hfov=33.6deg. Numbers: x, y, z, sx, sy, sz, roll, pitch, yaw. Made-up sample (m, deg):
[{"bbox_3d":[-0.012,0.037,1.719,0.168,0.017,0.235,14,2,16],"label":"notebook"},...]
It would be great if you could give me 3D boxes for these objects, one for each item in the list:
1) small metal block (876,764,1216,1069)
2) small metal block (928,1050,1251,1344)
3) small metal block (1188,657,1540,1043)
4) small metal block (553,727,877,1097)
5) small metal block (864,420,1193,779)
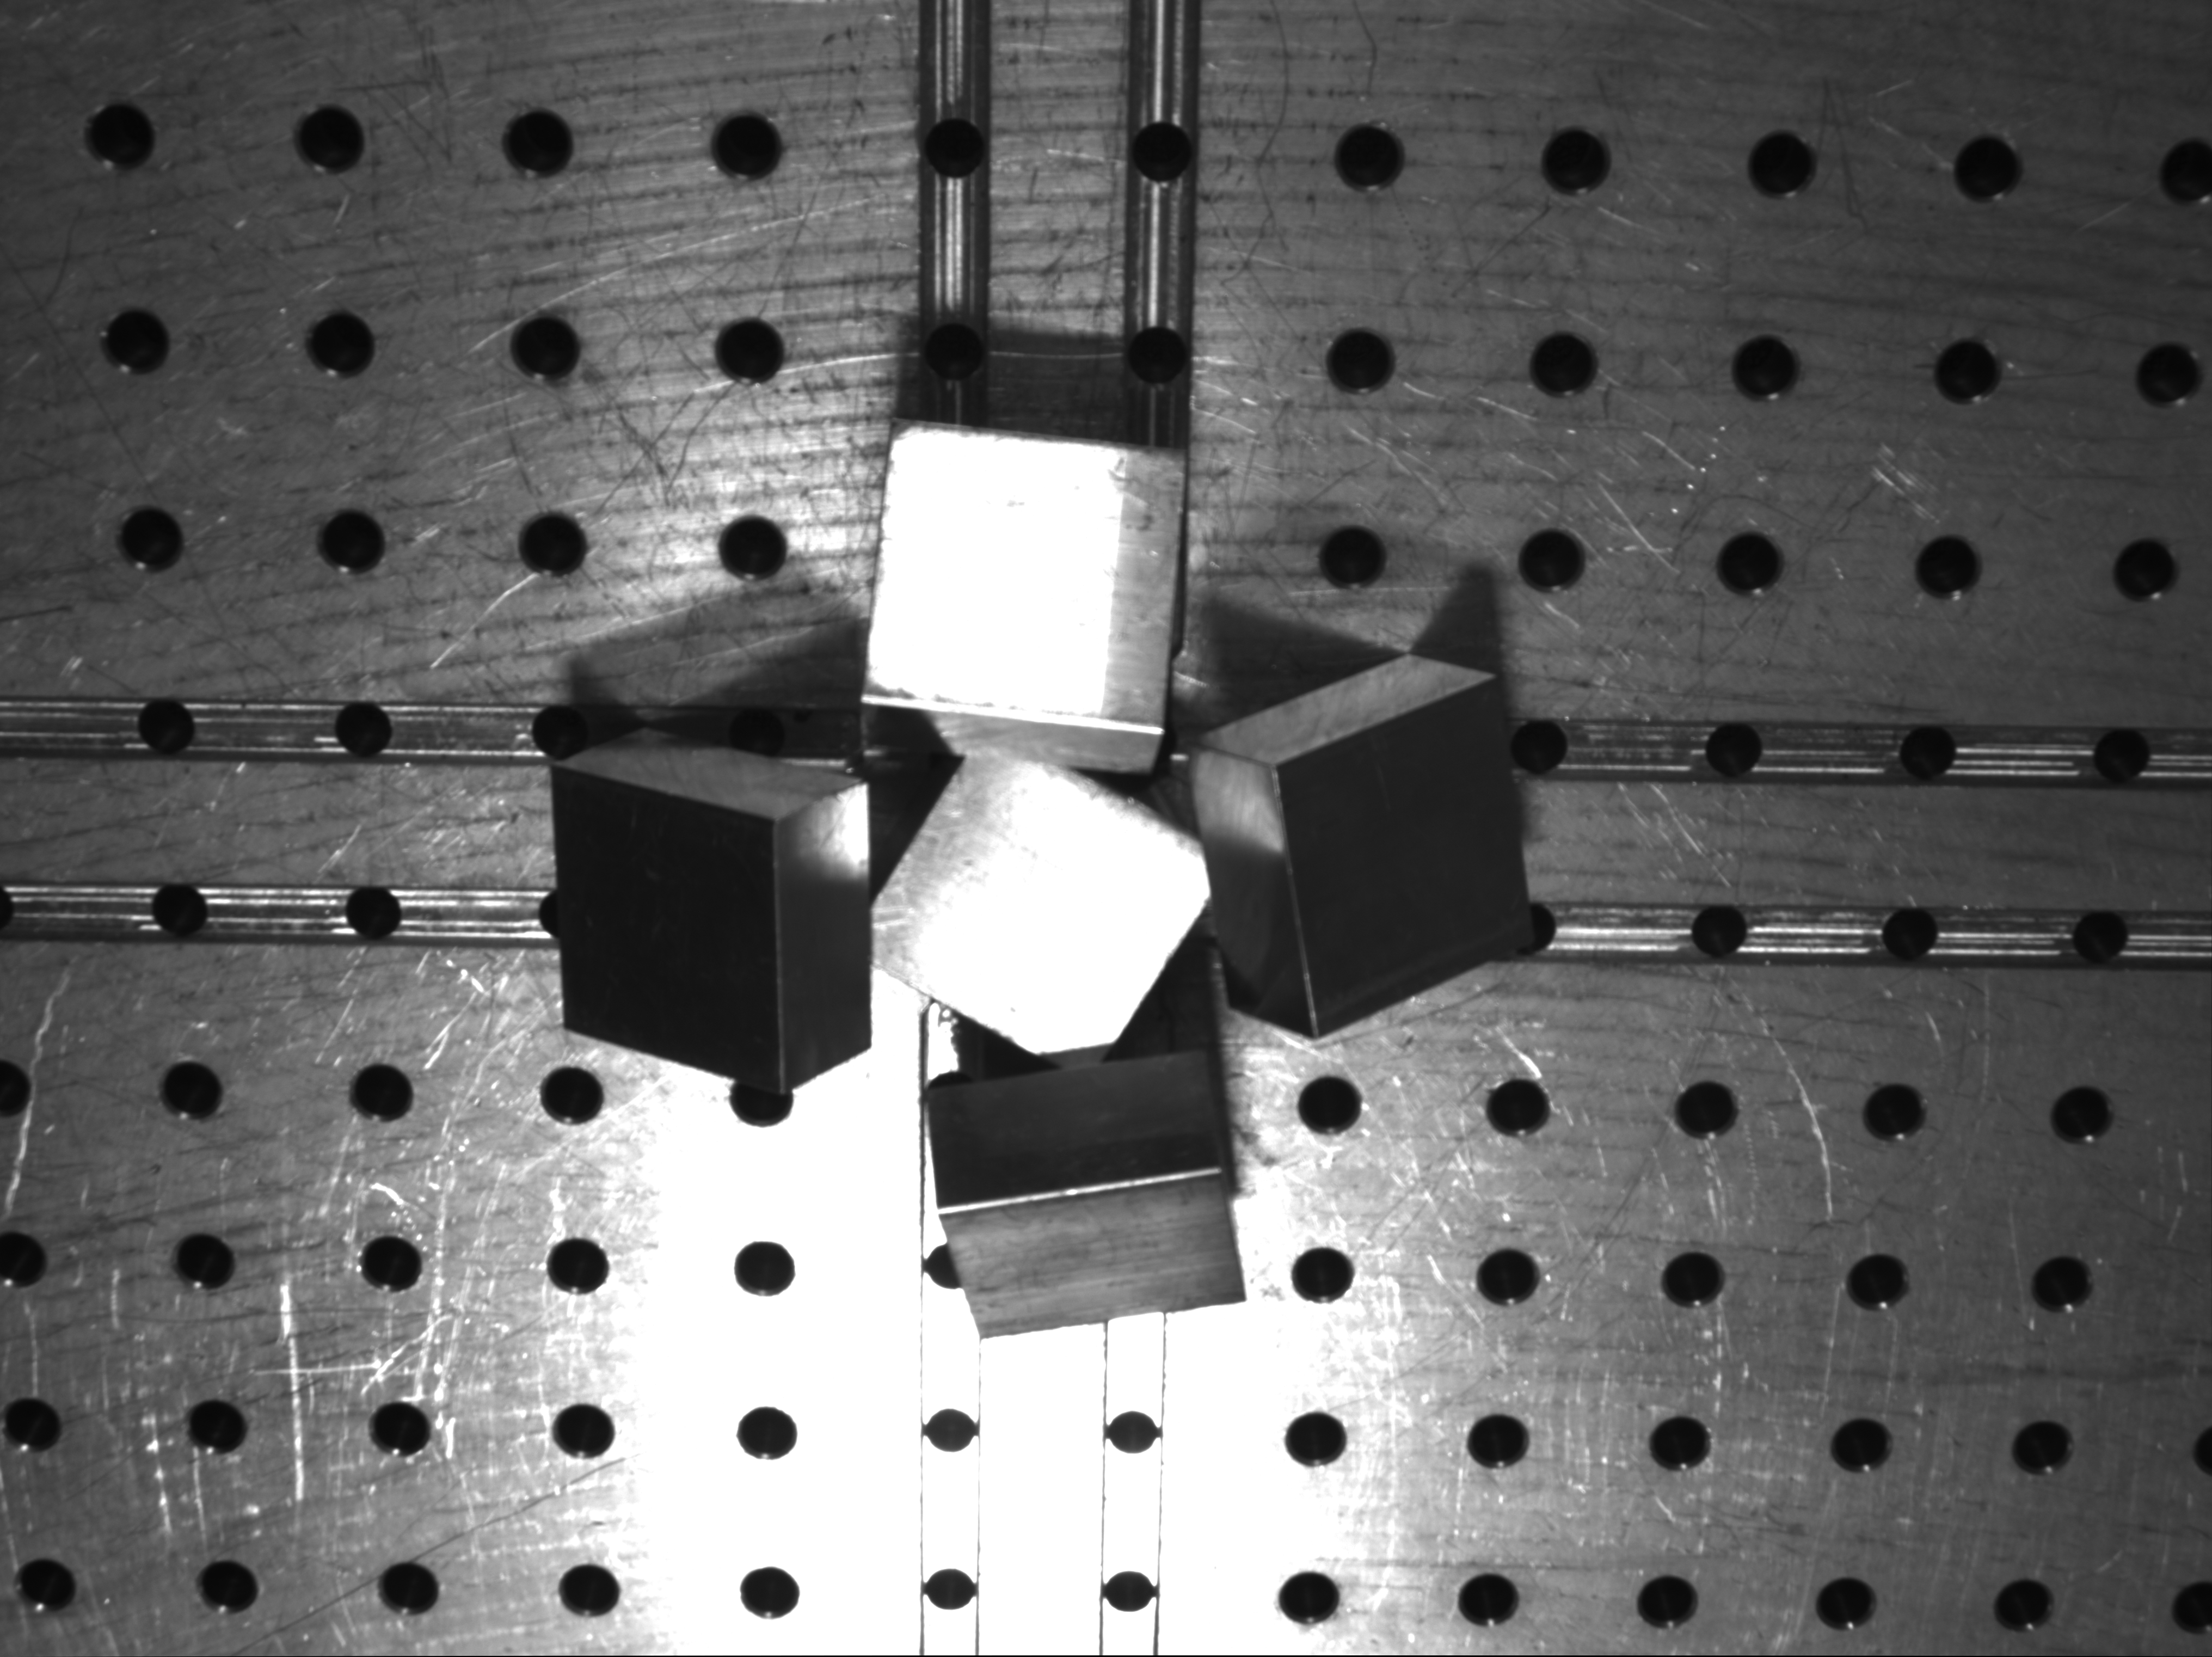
[{"bbox_3d":[-0.011,0.009,0.648,0.050,0.025,0.050,30,107,-11],"label":"small metal block"},{"bbox_3d":[-0.002,0.067,0.656,0.050,0.025,0.050,-8,145,3],"label":"small metal block"},{"bbox_3d":[0.045,0.003,0.635,0.050,0.025,0.050,-22,113,-30],"label":"small metal block"},{"bbox_3d":[-0.068,0.014,0.637,0.050,0.025,0.050,13,114,32],"label":"small metal block"},{"bbox_3d":[-0.013,-0.038,0.618,0.050,0.025,0.050,6,74,-2],"label":"small metal block"}]
